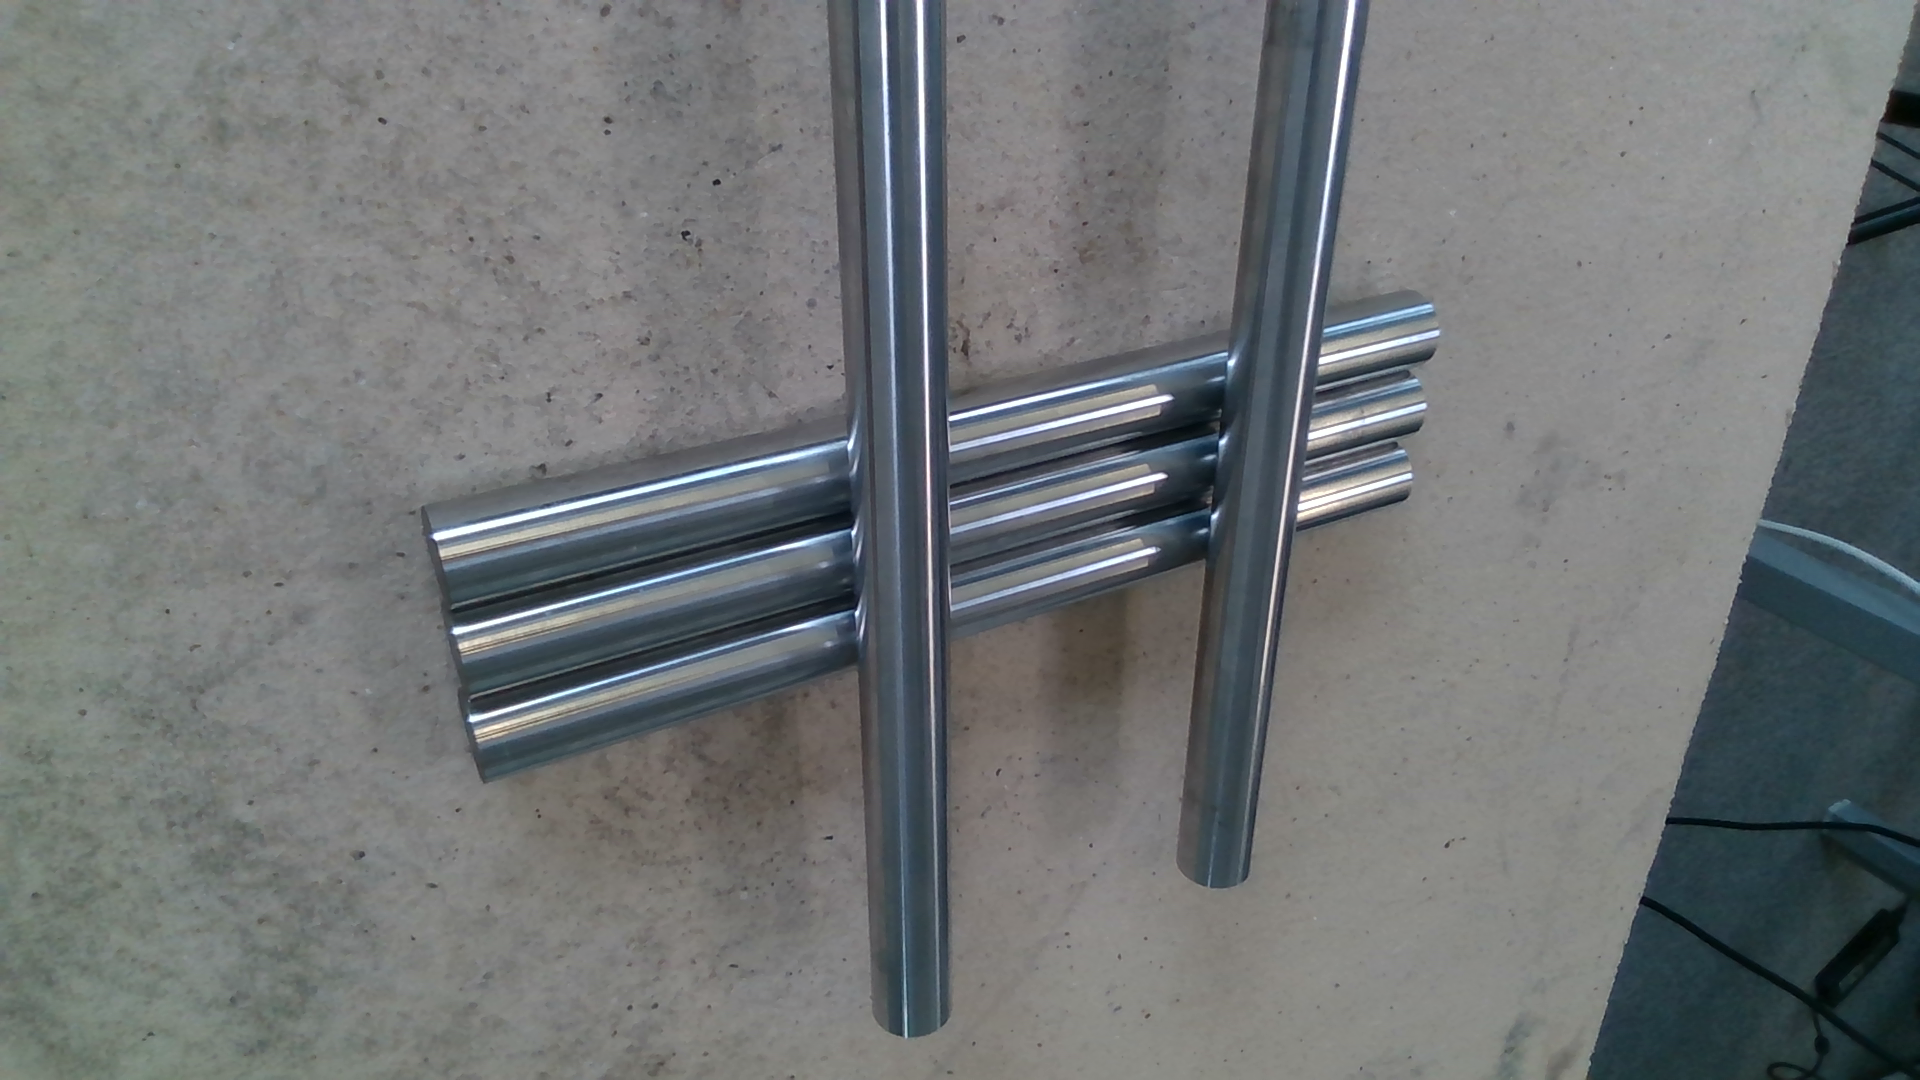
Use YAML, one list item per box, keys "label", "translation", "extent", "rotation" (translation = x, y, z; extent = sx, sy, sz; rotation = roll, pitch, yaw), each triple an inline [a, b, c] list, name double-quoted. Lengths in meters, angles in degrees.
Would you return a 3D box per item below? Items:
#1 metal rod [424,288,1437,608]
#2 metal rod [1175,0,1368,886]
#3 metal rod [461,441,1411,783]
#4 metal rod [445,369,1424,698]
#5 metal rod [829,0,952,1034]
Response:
- label: "metal rod"
  translation: [0.011, -0.032, 0.380]
  extent: [0.300, 0.025, 0.025]
  rotation: [-15, 122, -24]
- label: "metal rod"
  translation: [0.087, -0.023, 0.399]
  extent: [0.025, 0.025, 0.301]
  rotation: [-14, 122, -25]
- label: "metal rod"
  translation: [0.011, 0.012, 0.403]
  extent: [0.300, 0.025, 0.025]
  rotation: [-15, 122, -24]
- label: "metal rod"
  translation: [0.011, -0.010, 0.391]
  extent: [0.300, 0.025, 0.025]
  rotation: [-15, 122, -24]
- label: "metal rod"
  translation: [-0.015, 0.011, 0.355]
  extent: [0.025, 0.025, 0.301]
  rotation: [-15, 122, -25]
